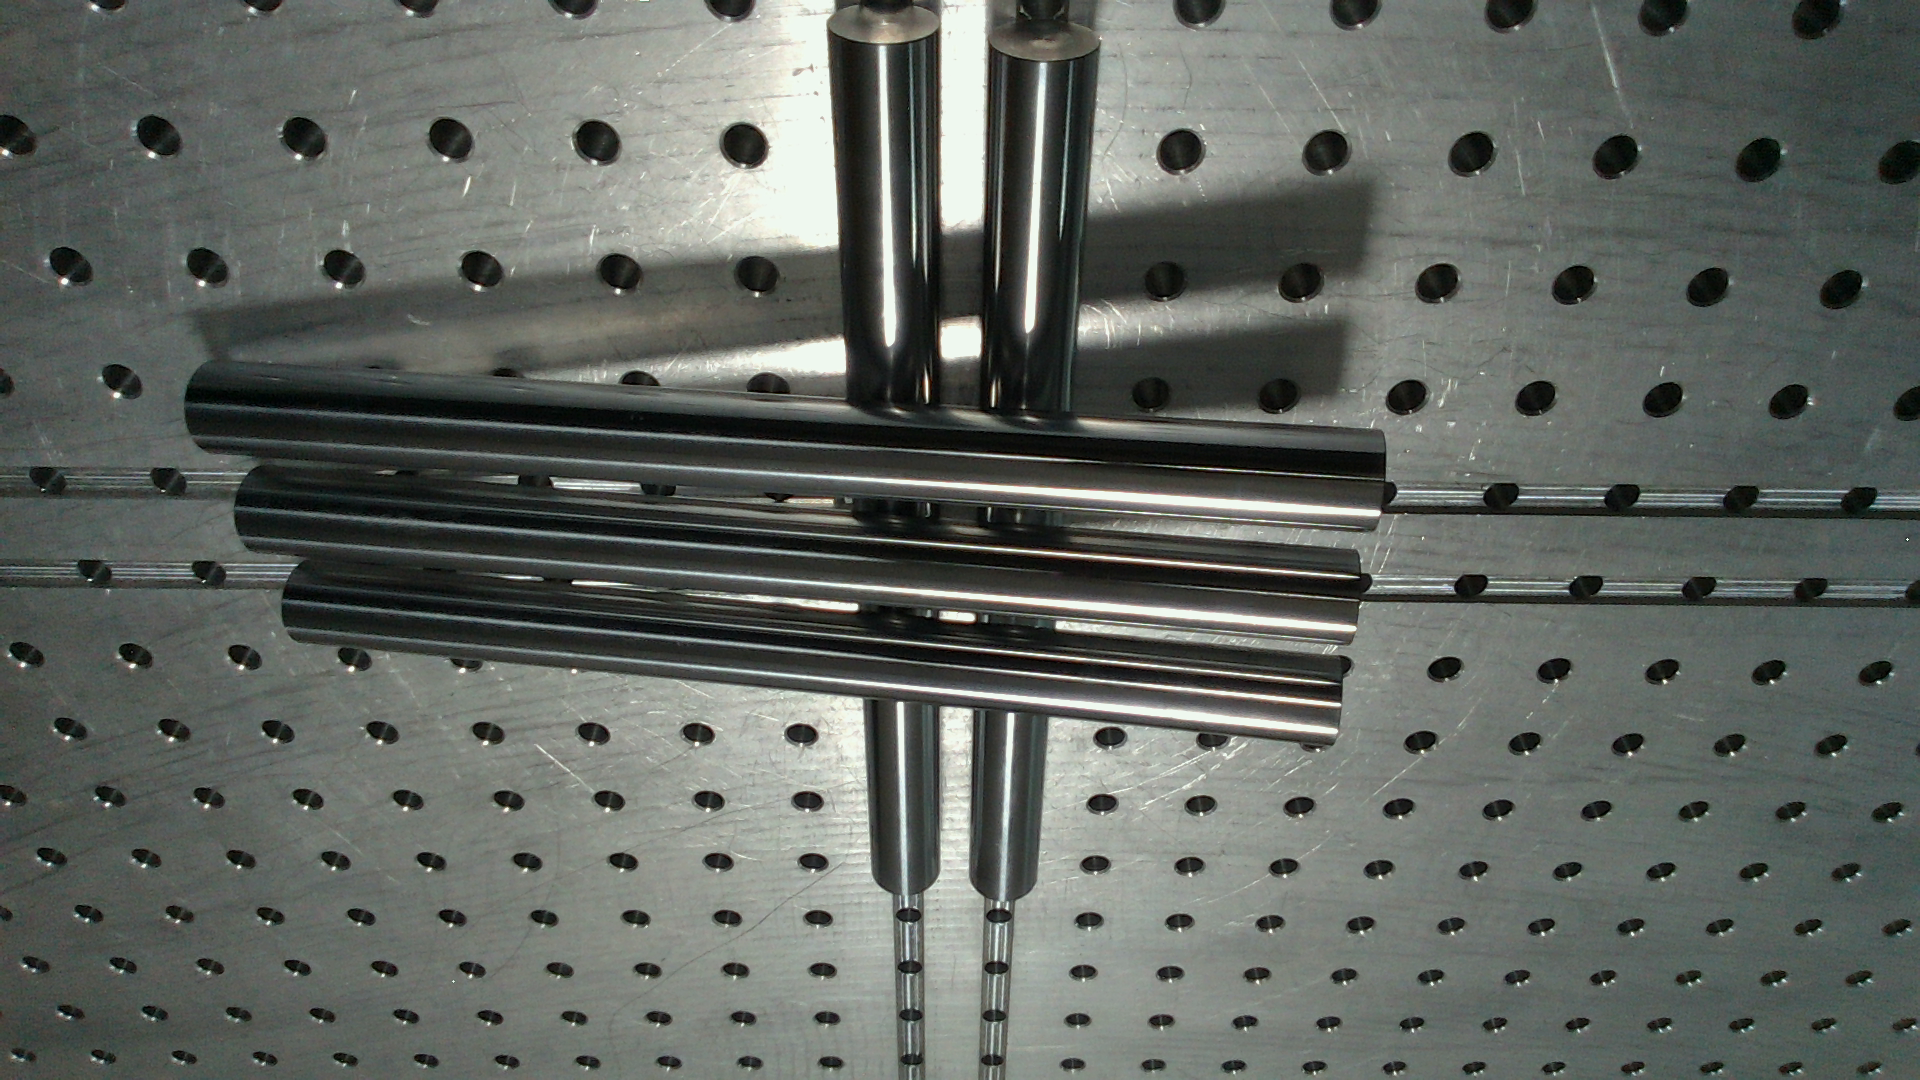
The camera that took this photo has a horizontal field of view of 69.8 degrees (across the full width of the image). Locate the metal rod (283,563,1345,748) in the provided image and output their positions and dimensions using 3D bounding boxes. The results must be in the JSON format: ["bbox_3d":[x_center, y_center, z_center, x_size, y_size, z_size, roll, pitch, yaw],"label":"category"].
[{"bbox_3d":[-0.046,0.031,0.392,0.300,0.025,0.025,5,131,7],"label":"metal rod"}]

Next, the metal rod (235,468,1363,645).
[{"bbox_3d":[-0.048,0.003,0.369,0.300,0.025,0.025,4,131,7],"label":"metal rod"}]

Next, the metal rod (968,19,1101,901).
[{"bbox_3d":[0.017,0.005,0.398,0.025,0.025,0.300,0,130,0],"label":"metal rod"}]

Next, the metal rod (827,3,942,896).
[{"bbox_3d":[-0.018,0.002,0.396,0.025,0.025,0.300,0,130,0],"label":"metal rod"}]

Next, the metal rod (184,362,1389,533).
[{"bbox_3d":[-0.049,-0.024,0.346,0.300,0.025,0.025,4,131,7],"label":"metal rod"}]
